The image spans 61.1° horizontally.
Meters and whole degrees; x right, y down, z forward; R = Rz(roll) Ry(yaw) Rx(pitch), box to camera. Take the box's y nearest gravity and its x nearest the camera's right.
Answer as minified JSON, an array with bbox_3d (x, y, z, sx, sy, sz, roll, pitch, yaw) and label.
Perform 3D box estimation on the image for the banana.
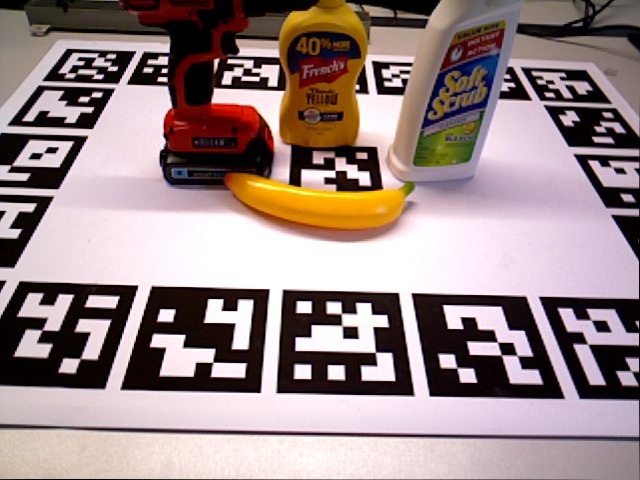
[{"bbox_3d":[0.004,-0.041,0.530,0.196,0.040,0.073,3,49,2],"label":"banana"}]

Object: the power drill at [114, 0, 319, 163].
[{"bbox_3d":[-0.097,-0.169,0.518,0.183,0.191,0.056,2,38,-6],"label":"power drill"}]

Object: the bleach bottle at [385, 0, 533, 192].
[{"bbox_3d":[0.133,-0.164,0.525,0.102,0.256,0.067,-4,46,-9],"label":"bleach bottle"}]

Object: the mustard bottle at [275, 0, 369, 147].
[{"bbox_3d":[0.002,-0.194,0.577,0.095,0.196,0.057,3,44,-3],"label":"mustard bottle"}]
